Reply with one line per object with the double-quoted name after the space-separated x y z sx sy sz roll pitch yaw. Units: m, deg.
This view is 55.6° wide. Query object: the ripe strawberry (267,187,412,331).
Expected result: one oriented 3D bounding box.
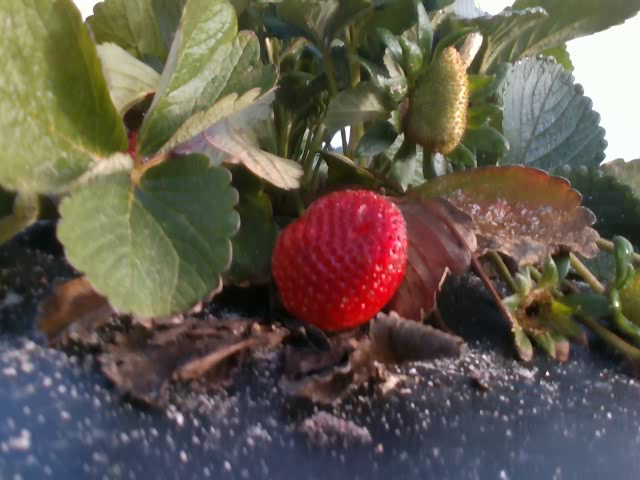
0.005 0.003 0.109 0.031 0.026 0.030 -11 10 -23 "ripe strawberry"
